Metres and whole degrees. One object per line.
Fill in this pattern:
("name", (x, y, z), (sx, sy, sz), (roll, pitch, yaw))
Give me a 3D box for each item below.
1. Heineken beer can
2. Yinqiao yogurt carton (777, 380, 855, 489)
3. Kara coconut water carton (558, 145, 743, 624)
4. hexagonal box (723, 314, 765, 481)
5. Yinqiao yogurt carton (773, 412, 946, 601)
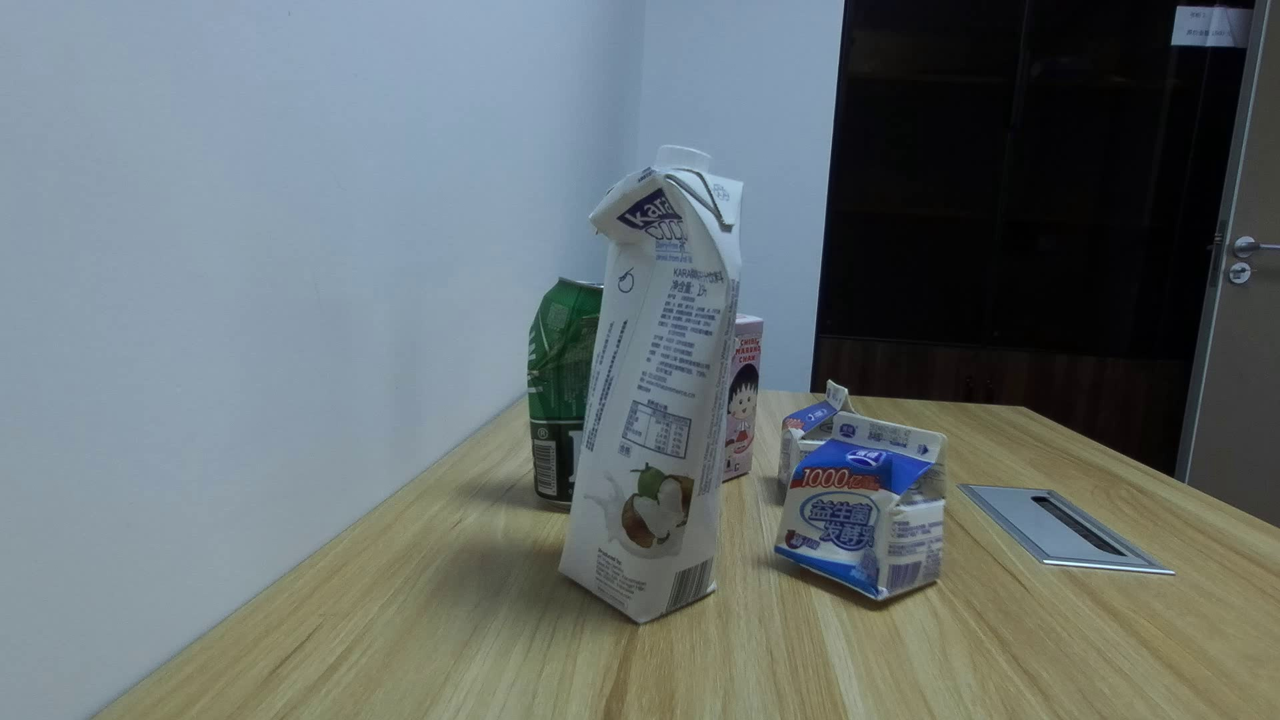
("Heineken beer can", (-0.043, 0.023, 0.520), (0.077, 0.164, 0.066), (9, 12, 13))
("Yinqiao yogurt carton", (0.163, 0.066, 0.598), (0.074, 0.092, 0.075), (2, 10, 2))
("Kara coconut water carton", (0.009, 0.008, 0.377), (0.070, 0.238, 0.114), (-3, 11, -42))
("hexagonal box", (0.058, 0.029, 0.611), (0.083, 0.136, 0.091), (8, 8, 38))
("Yinqiao yogurt carton", (0.136, 0.082, 0.419), (0.071, 0.094, 0.077), (3, 8, -42))
